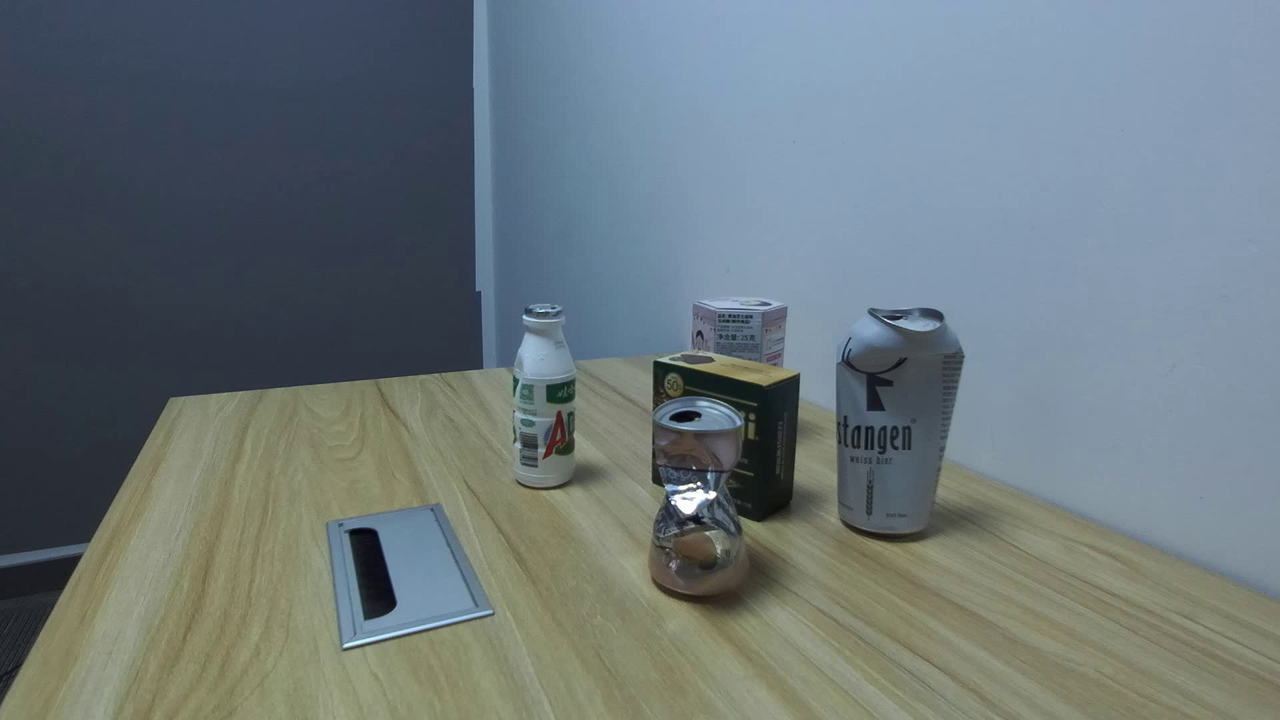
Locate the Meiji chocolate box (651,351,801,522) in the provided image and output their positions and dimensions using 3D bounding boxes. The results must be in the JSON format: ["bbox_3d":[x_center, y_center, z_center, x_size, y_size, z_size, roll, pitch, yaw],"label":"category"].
[{"bbox_3d":[0.066,0.056,0.561,0.109,0.109,0.056,13,19,40],"label":"Meiji chocolate box"}]

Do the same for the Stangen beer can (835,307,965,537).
[{"bbox_3d":[0.181,0.045,0.507,0.077,0.162,0.065,-12,19,-40],"label":"Stangen beer can"}]

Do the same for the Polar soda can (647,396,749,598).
[{"bbox_3d":[0.036,0.086,0.434,0.070,0.114,0.074,-17,19,-32],"label":"Polar soda can"}]

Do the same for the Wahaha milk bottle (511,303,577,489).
[{"bbox_3d":[-0.080,0.035,0.581,0.053,0.136,0.053,2,13,0],"label":"Wahaha milk bottle"}]

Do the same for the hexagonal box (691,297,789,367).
[{"bbox_3d":[0.091,0.011,0.692,0.083,0.136,0.091,11,14,35],"label":"hexagonal box"}]
